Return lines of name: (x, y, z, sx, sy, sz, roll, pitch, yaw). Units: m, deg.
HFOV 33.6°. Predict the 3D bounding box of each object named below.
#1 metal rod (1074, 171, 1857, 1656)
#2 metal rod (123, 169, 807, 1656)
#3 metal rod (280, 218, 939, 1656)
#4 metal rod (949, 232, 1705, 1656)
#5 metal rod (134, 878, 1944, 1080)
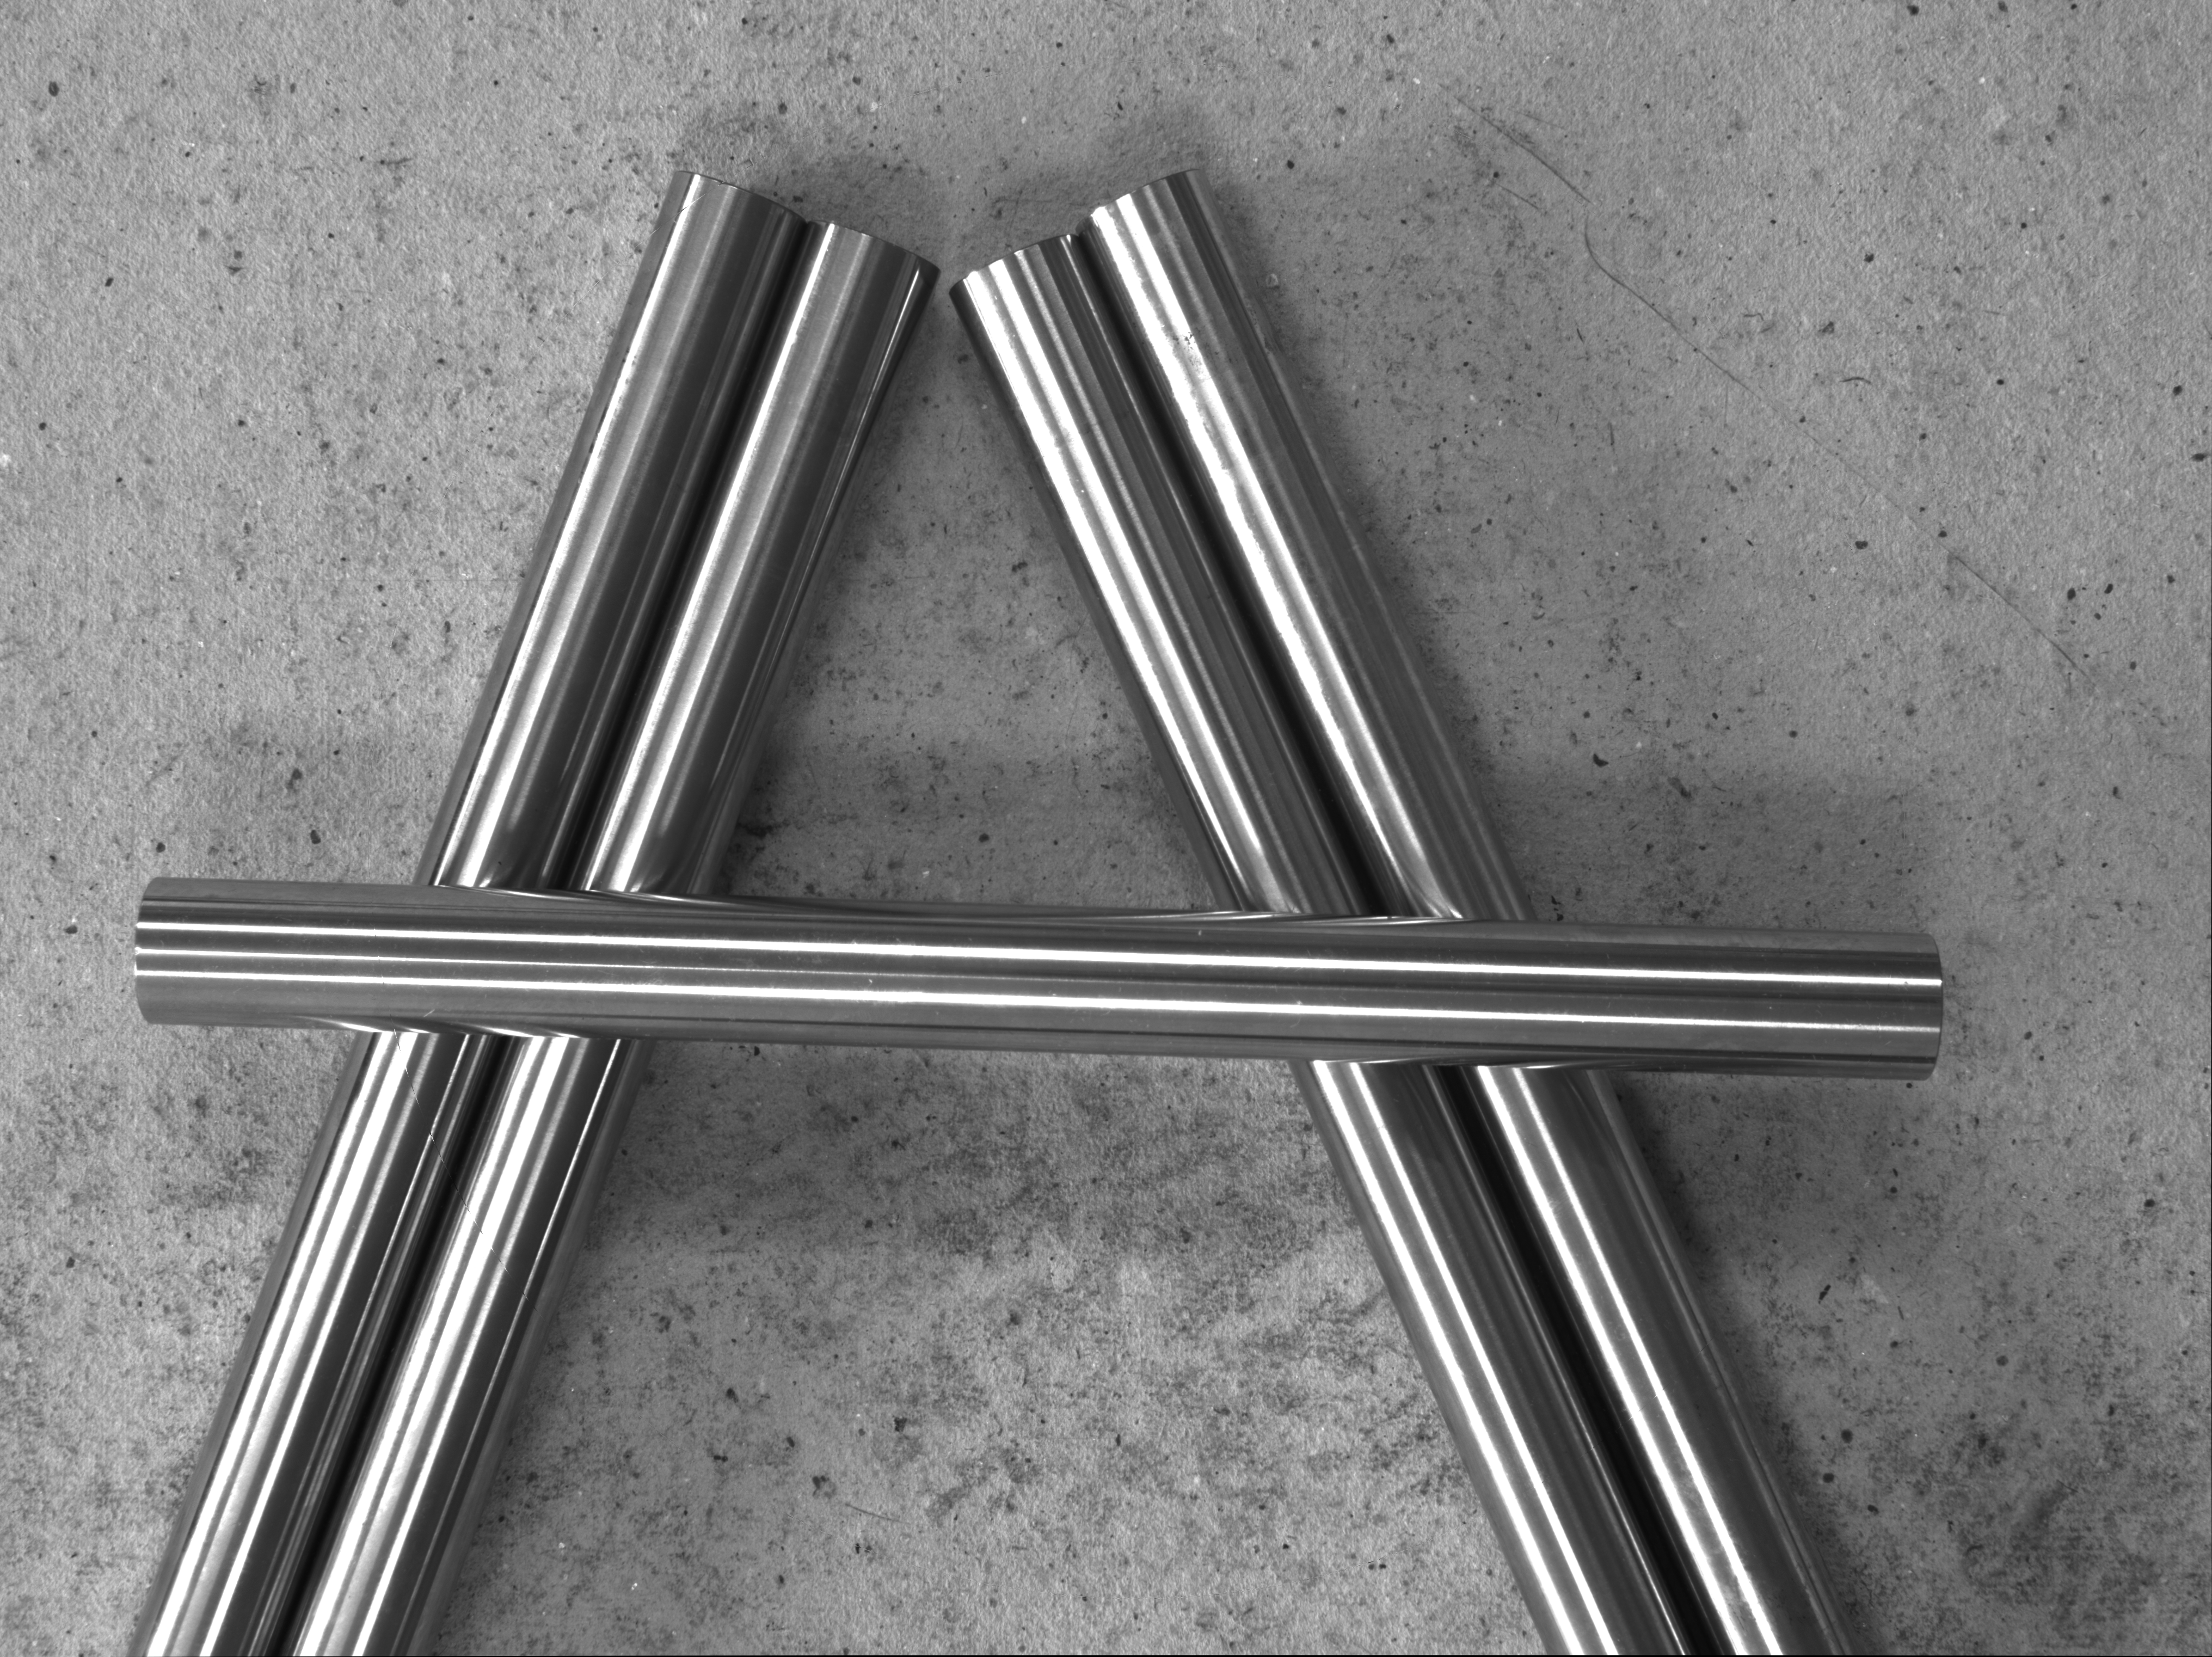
metal rod: (0.066, 0.027, 0.646, 0.025, 0.025, 0.300, -24, 90, 0)
metal rod: (-0.116, 0.030, 0.645, 0.025, 0.025, 0.300, 20, 90, 0)
metal rod: (-0.093, 0.038, 0.645, 0.025, 0.025, 0.300, 20, 90, 0)
metal rod: (0.044, 0.038, 0.646, 0.025, 0.025, 0.300, -24, 90, 0)
metal rod: (-0.011, 0.025, 0.620, 0.300, 0.025, 0.025, 2, 90, 0)
